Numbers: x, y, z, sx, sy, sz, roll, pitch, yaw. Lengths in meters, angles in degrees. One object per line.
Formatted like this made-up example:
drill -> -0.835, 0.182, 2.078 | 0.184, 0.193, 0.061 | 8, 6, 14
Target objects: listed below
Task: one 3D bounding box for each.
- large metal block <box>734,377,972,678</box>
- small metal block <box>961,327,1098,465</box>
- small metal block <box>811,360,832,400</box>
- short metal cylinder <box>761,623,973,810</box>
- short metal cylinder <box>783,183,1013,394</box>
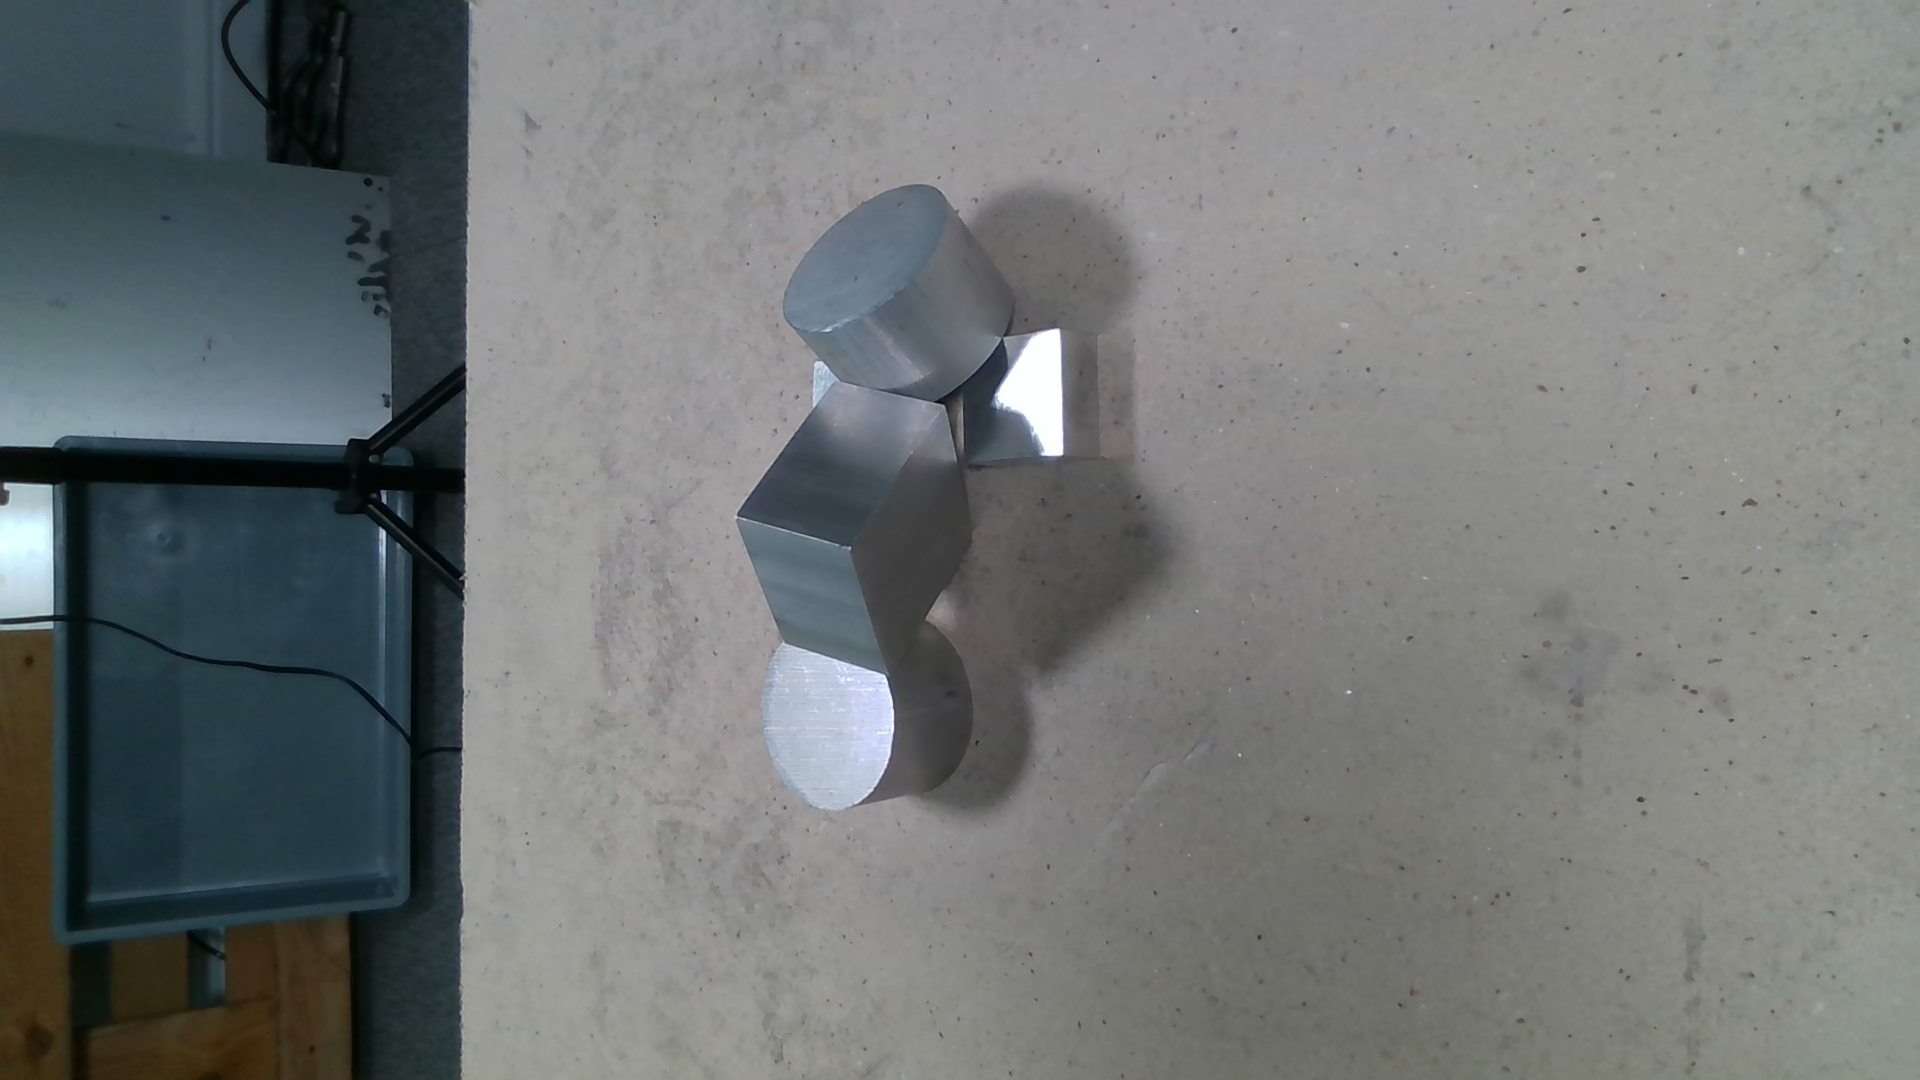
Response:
large metal block -> -0.039, -0.005, 0.555 | 0.050, 0.080, 0.080 | 15, 143, 23
small metal block -> 0.028, -0.057, 0.558 | 0.050, 0.025, 0.050 | -2, 89, 40
small metal block -> -0.041, -0.055, 0.616 | 0.050, 0.025, 0.050 | 4, 93, 40
short metal cylinder -> -0.041, 0.074, 0.602 | 0.080, 0.050, 0.080 | 0, 91, 40
short metal cylinder -> -0.025, -0.098, 0.562 | 0.080, 0.050, 0.080 | -24, 42, 23
